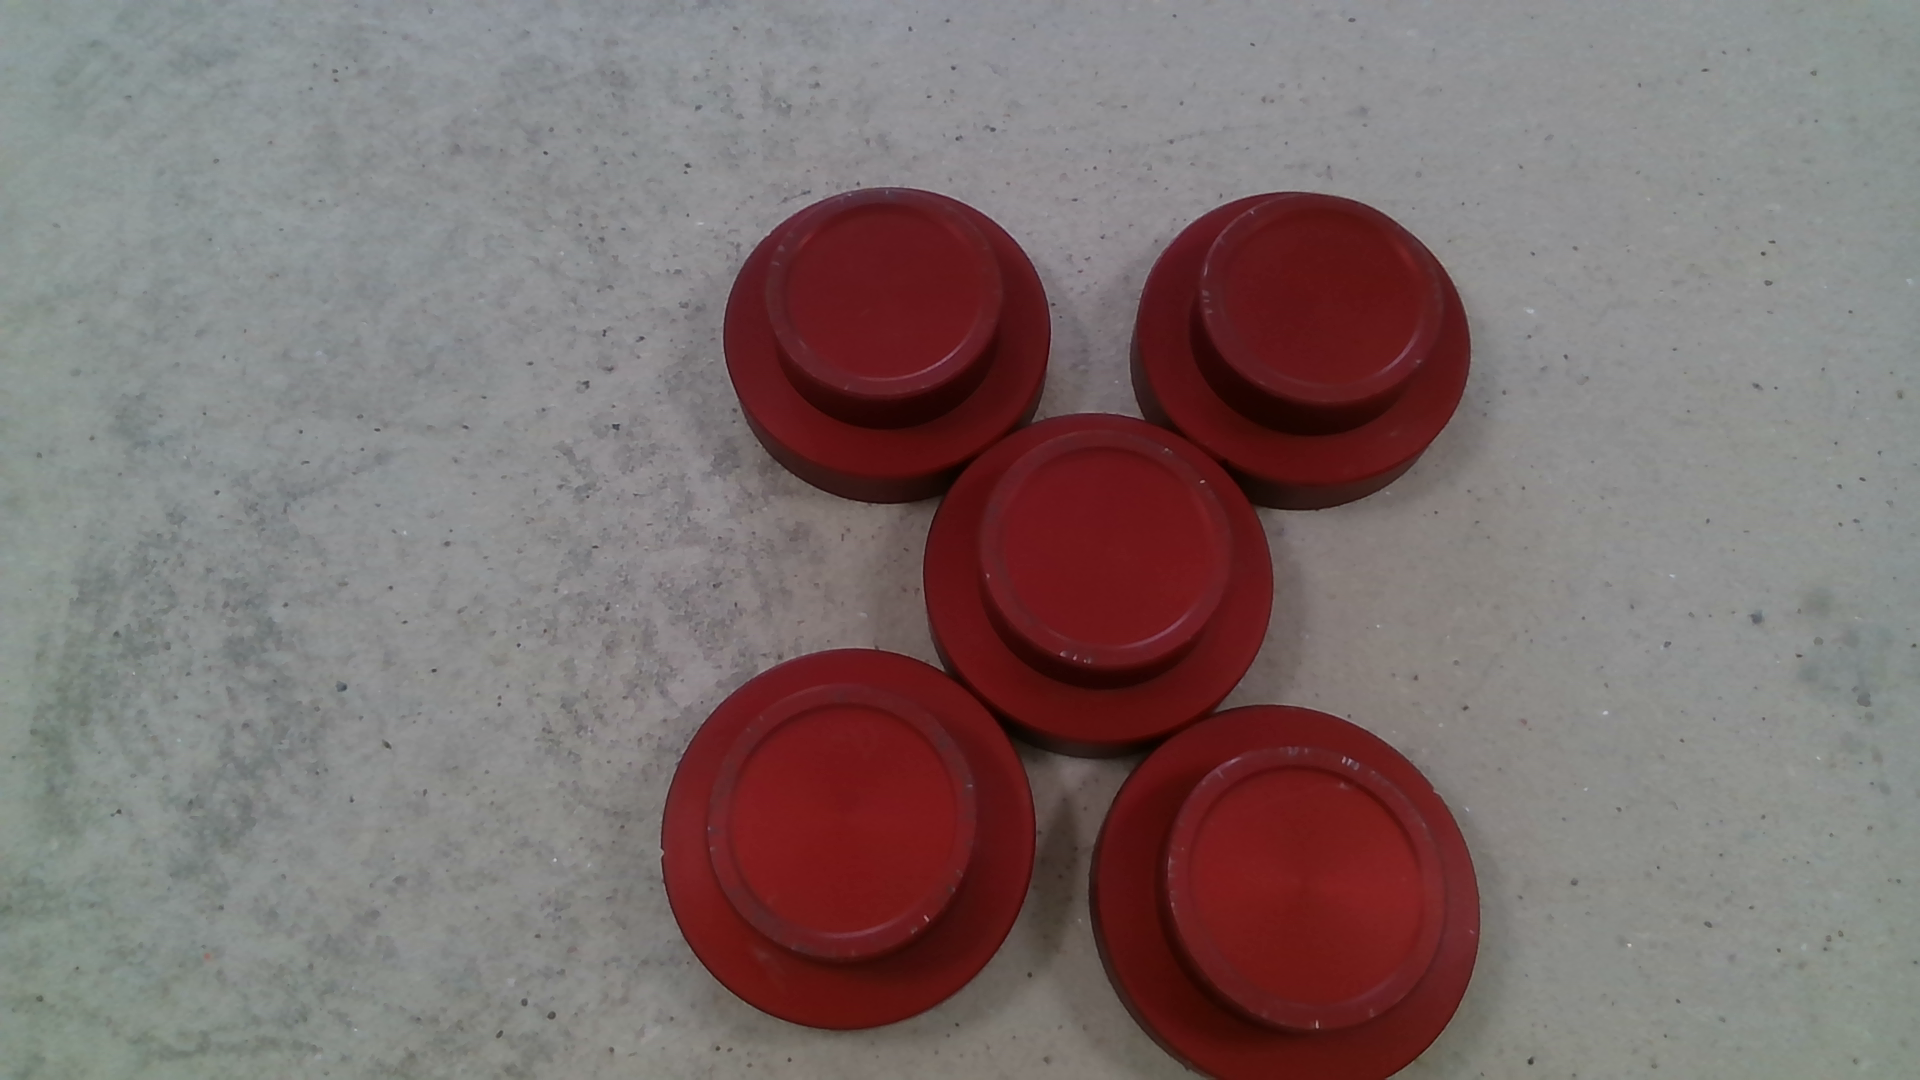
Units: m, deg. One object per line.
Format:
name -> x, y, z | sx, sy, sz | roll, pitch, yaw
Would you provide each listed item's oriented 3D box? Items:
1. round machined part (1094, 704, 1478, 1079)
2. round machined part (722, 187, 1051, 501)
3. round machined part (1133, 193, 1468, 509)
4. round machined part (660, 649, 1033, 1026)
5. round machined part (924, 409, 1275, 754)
round machined part -> 0.084, 0.090, 0.354 | 0.098, 0.042, 0.098 | -1, 70, 2
round machined part -> -0.022, -0.064, 0.409 | 0.098, 0.042, 0.098 | 0, 71, 1
round machined part -> 0.102, -0.062, 0.409 | 0.098, 0.042, 0.098 | 0, 70, 0
round machined part -> -0.030, 0.075, 0.360 | 0.098, 0.042, 0.098 | -1, 70, 2
round machined part -> 0.039, 0.007, 0.384 | 0.098, 0.042, 0.098 | -1, 70, 2
